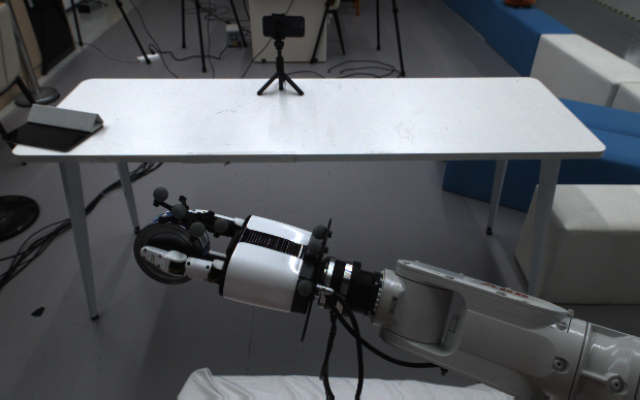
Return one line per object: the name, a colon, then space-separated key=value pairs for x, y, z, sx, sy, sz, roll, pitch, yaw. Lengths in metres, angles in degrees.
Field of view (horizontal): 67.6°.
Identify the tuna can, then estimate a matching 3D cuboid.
tuna can: x=-0.181 y=0.061 z=0.599 sx=0.085 sy=0.085 sz=0.034 roll=4 pitch=20 yaw=3
